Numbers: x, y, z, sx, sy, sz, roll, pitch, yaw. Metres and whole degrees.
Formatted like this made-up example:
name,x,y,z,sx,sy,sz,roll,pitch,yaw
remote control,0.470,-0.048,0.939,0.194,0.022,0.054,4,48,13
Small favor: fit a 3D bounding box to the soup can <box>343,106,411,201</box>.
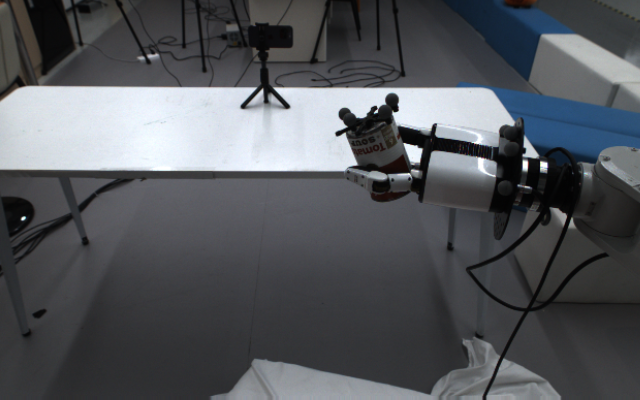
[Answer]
name,x,y,z,sx,sy,sz,roll,pitch,yaw
soup can,0.084,-0.058,0.650,0.067,0.101,0.067,-21,24,10
